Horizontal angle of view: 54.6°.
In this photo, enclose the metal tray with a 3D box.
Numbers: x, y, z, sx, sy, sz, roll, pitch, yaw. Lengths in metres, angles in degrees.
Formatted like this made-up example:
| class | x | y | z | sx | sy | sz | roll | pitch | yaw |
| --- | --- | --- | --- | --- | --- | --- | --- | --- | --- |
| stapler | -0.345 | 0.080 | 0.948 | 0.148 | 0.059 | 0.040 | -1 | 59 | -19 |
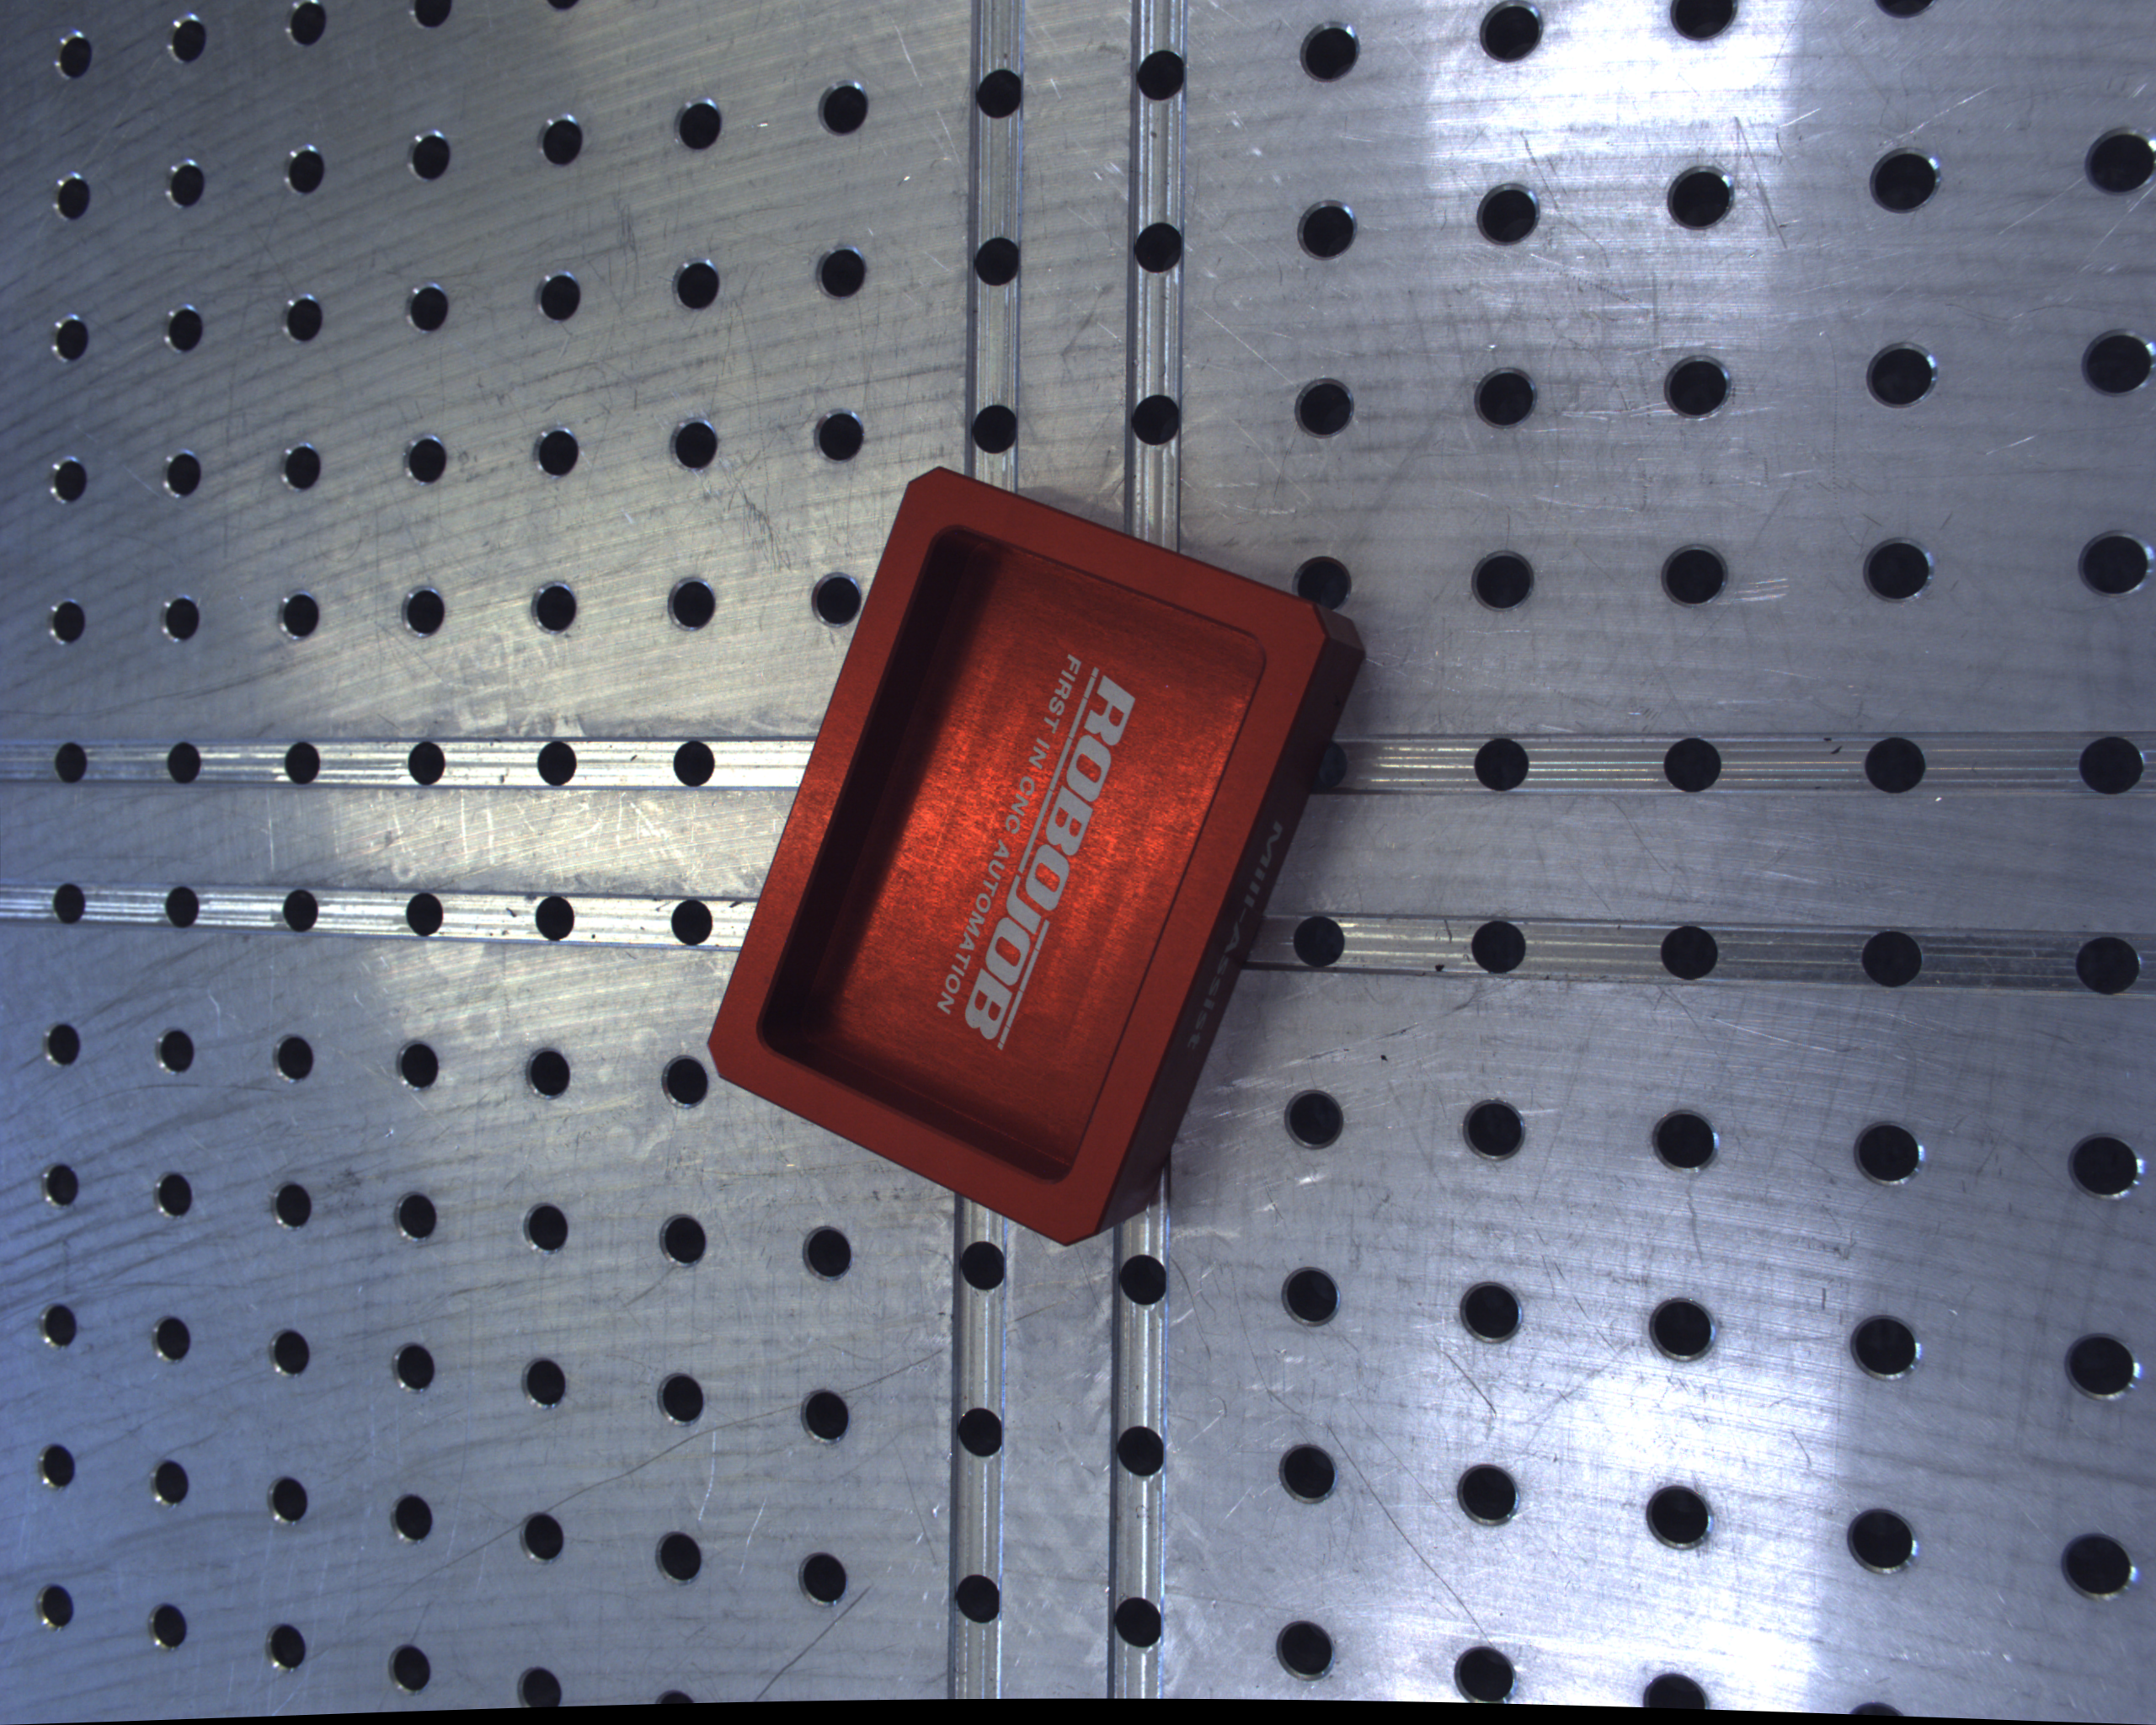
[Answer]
| class | x | y | z | sx | sy | sz | roll | pitch | yaw |
| --- | --- | --- | --- | --- | --- | --- | --- | --- | --- |
| metal tray | -0.010 | -0.002 | 0.413 | 0.090 | 0.030 | 0.129 | 23 | 98 | 18 |
